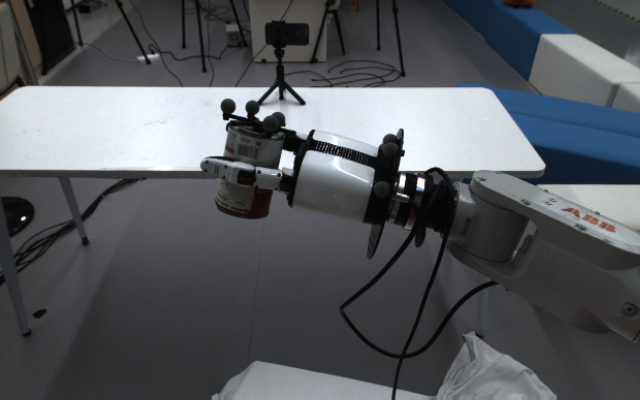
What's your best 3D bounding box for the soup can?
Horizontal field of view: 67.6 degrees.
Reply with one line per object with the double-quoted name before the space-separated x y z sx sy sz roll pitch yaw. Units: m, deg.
"soup can" -0.083 -0.036 0.578 0.067 0.101 0.067 13 18 -4
